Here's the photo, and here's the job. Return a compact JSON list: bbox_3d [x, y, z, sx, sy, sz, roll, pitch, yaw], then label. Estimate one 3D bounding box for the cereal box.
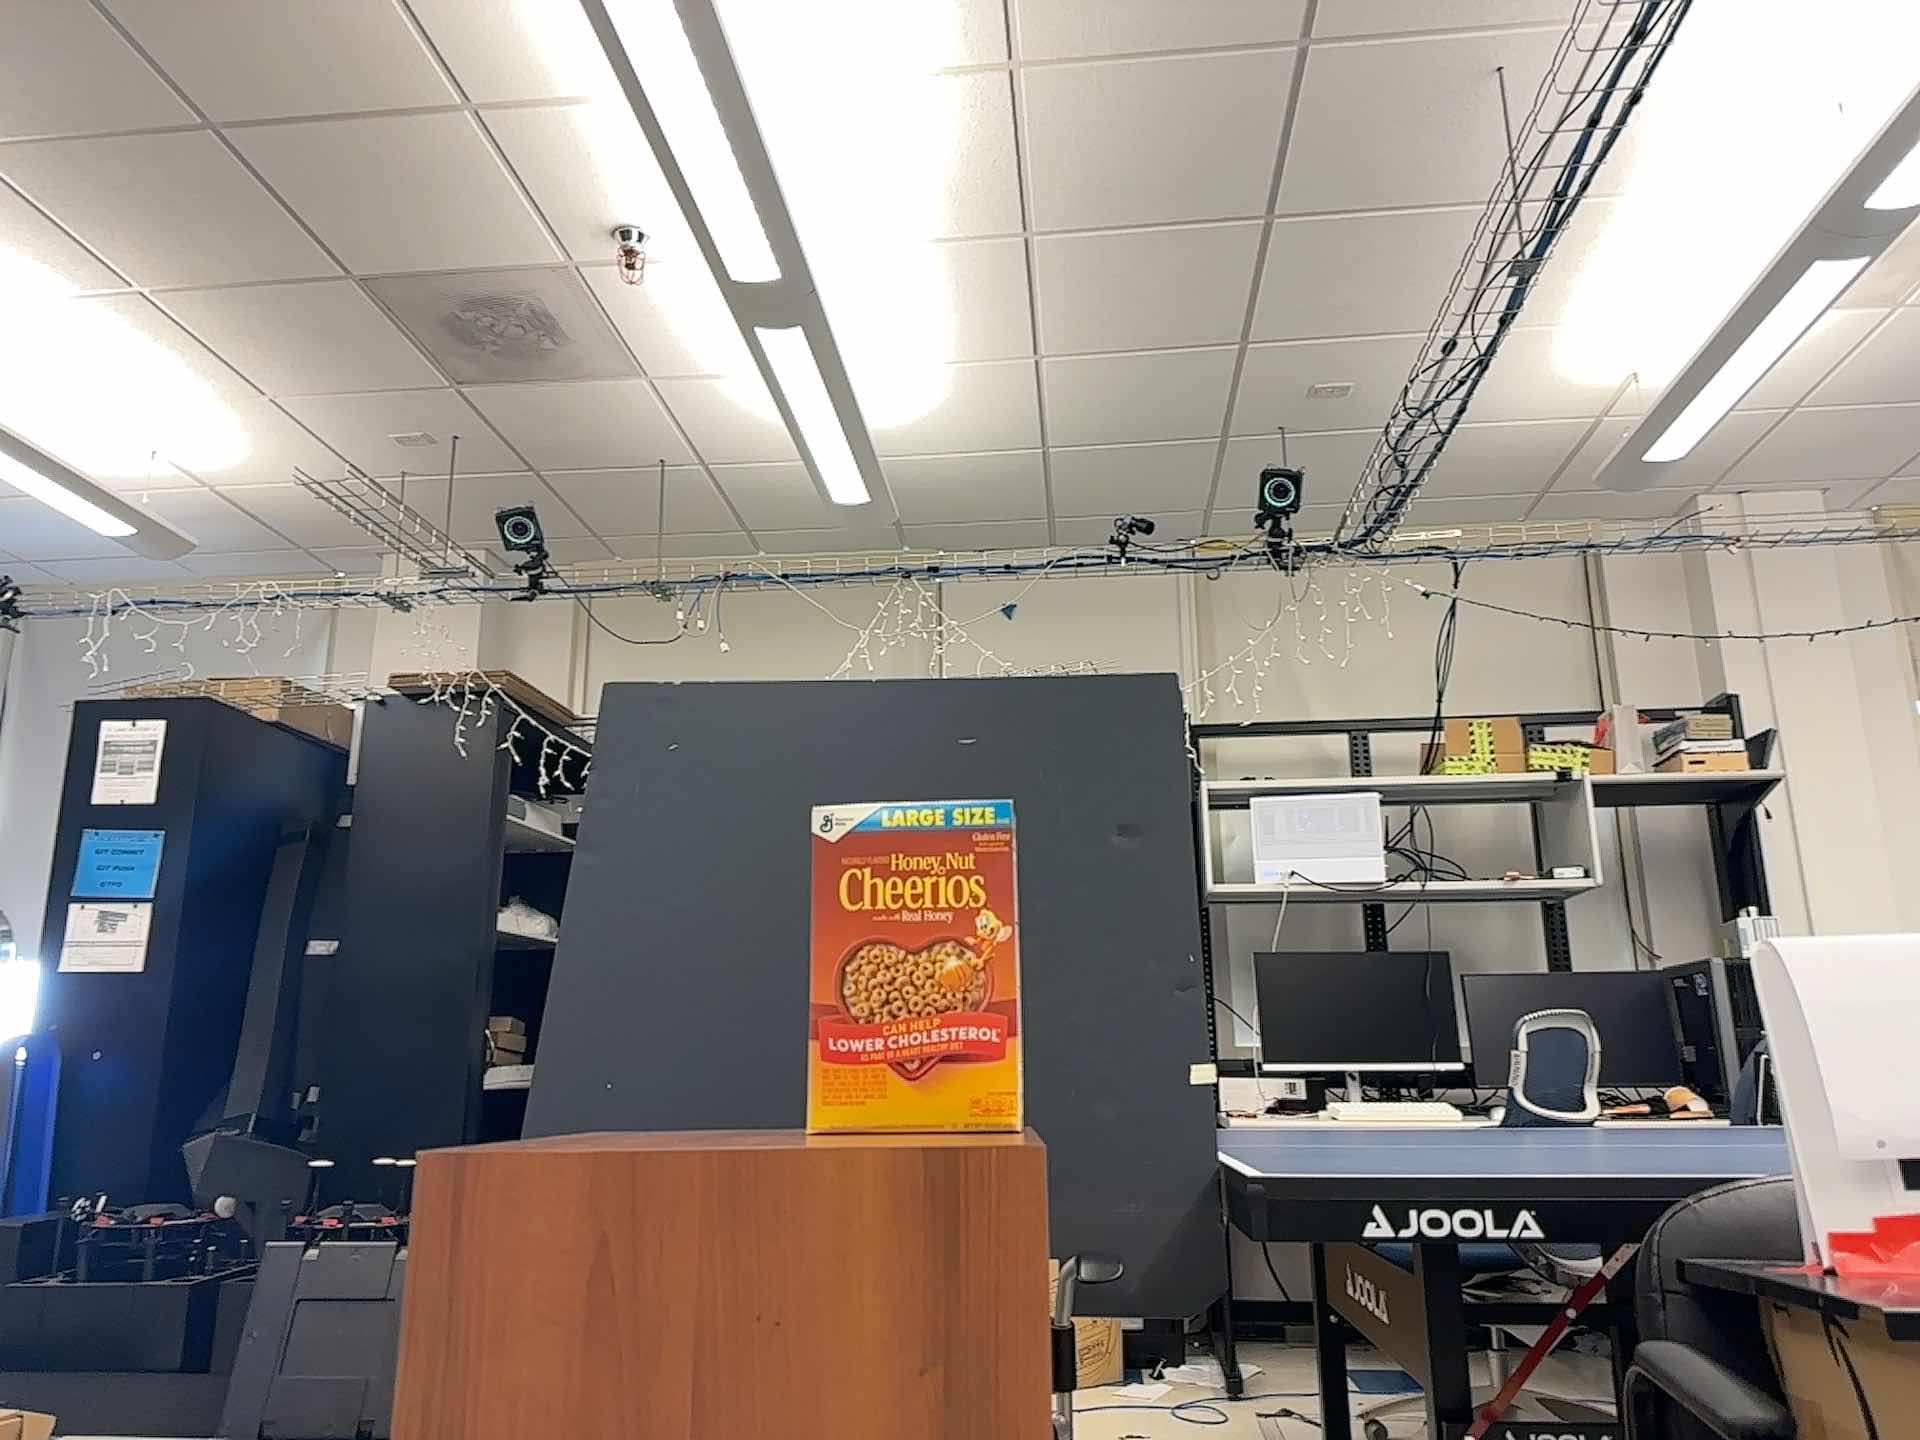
[{"bbox_3d":[-0.046,0.224,1.262,0.195,0.297,0.065,-3,-12,12],"label":"cereal box"}]
